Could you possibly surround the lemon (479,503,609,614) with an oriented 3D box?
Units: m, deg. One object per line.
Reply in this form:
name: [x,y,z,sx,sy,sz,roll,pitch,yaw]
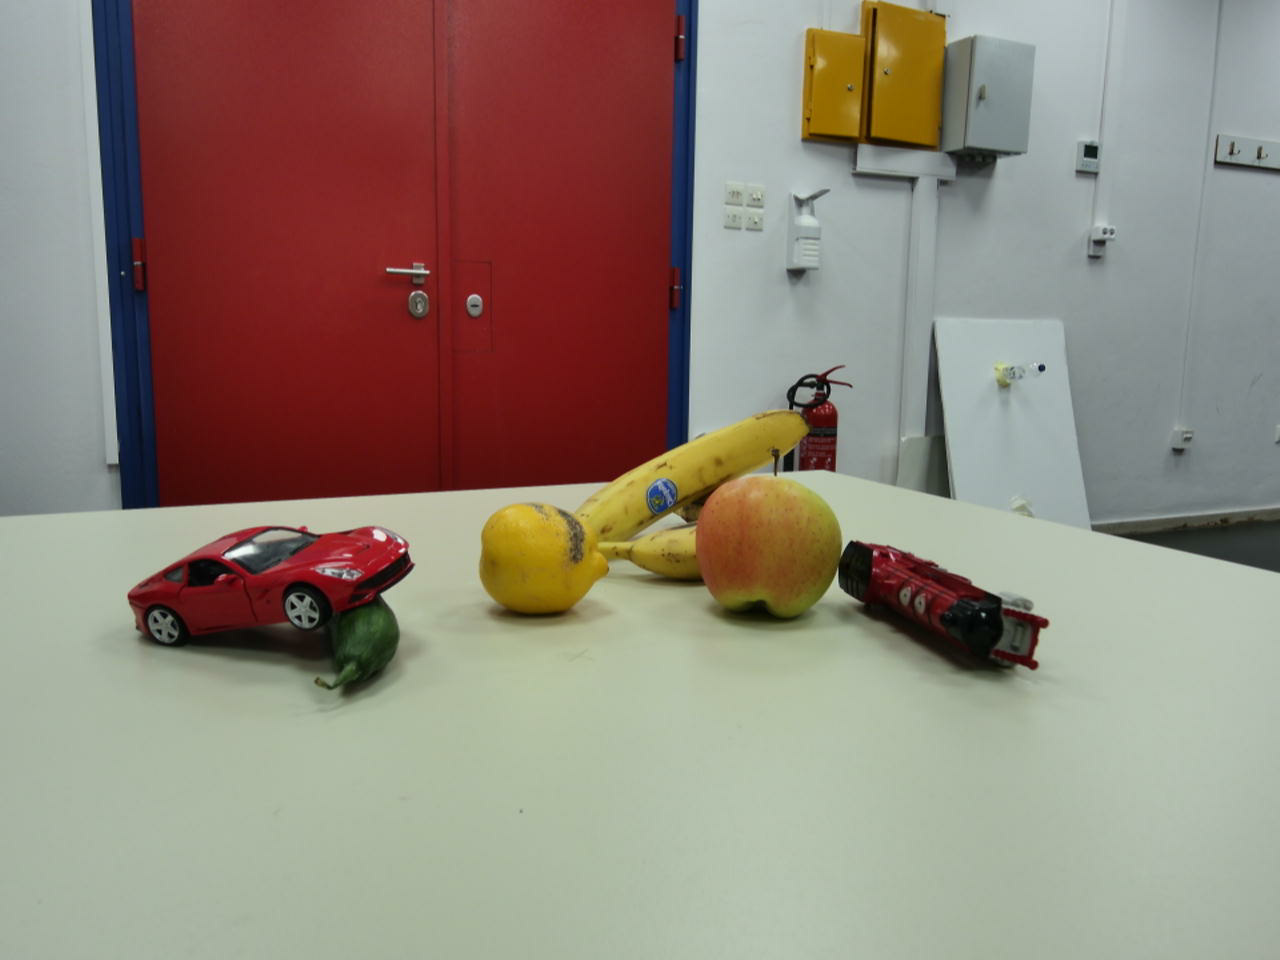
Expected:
lemon: [-0.052,0.040,0.510,0.061,0.056,0.058,-4,8,-33]
